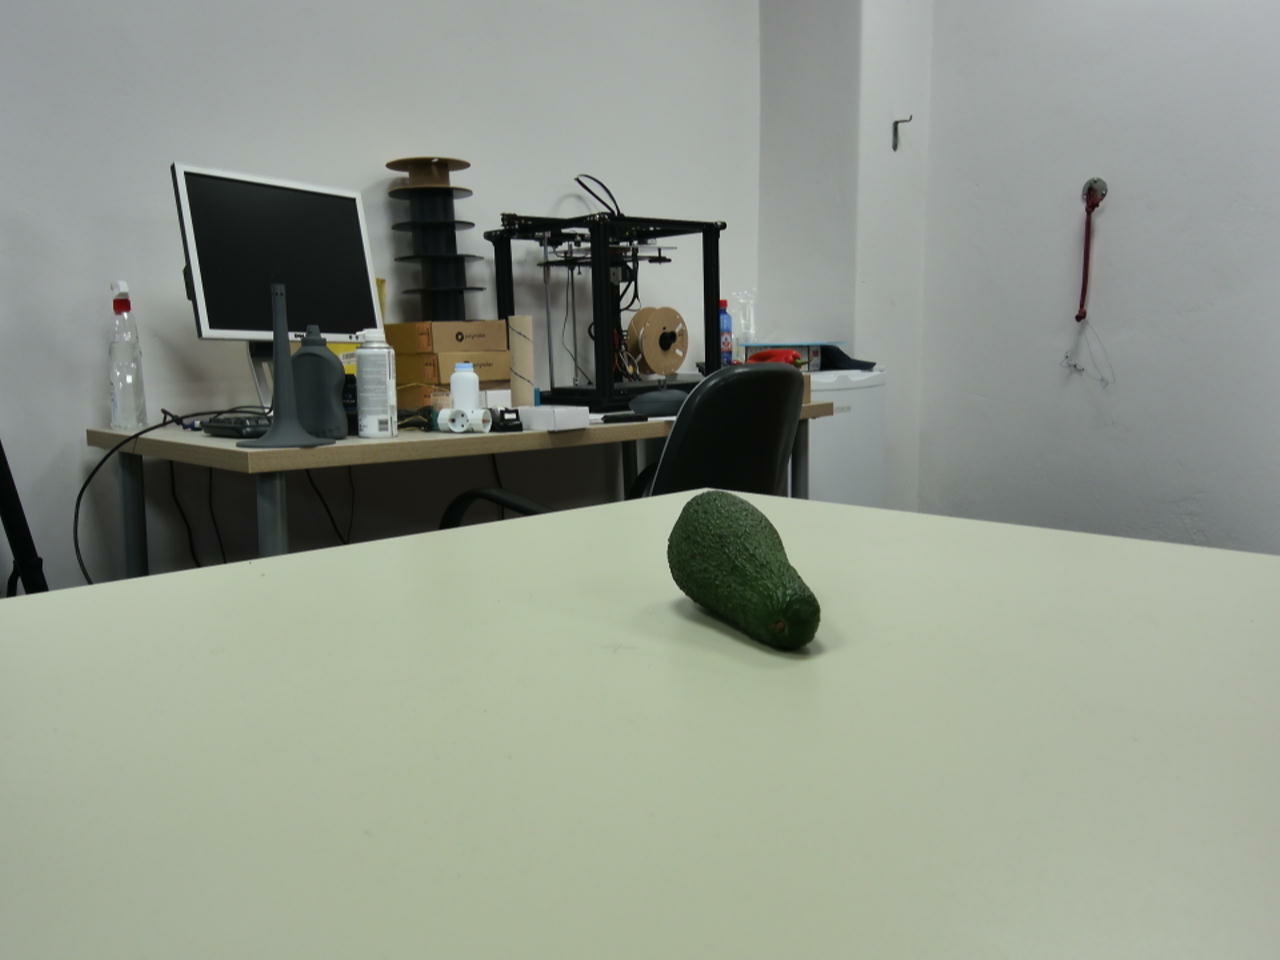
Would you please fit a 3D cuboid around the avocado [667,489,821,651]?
[{"bbox_3d":[0.060,0.044,0.538,0.063,0.067,0.141,-2,6,-27],"label":"avocado"}]
